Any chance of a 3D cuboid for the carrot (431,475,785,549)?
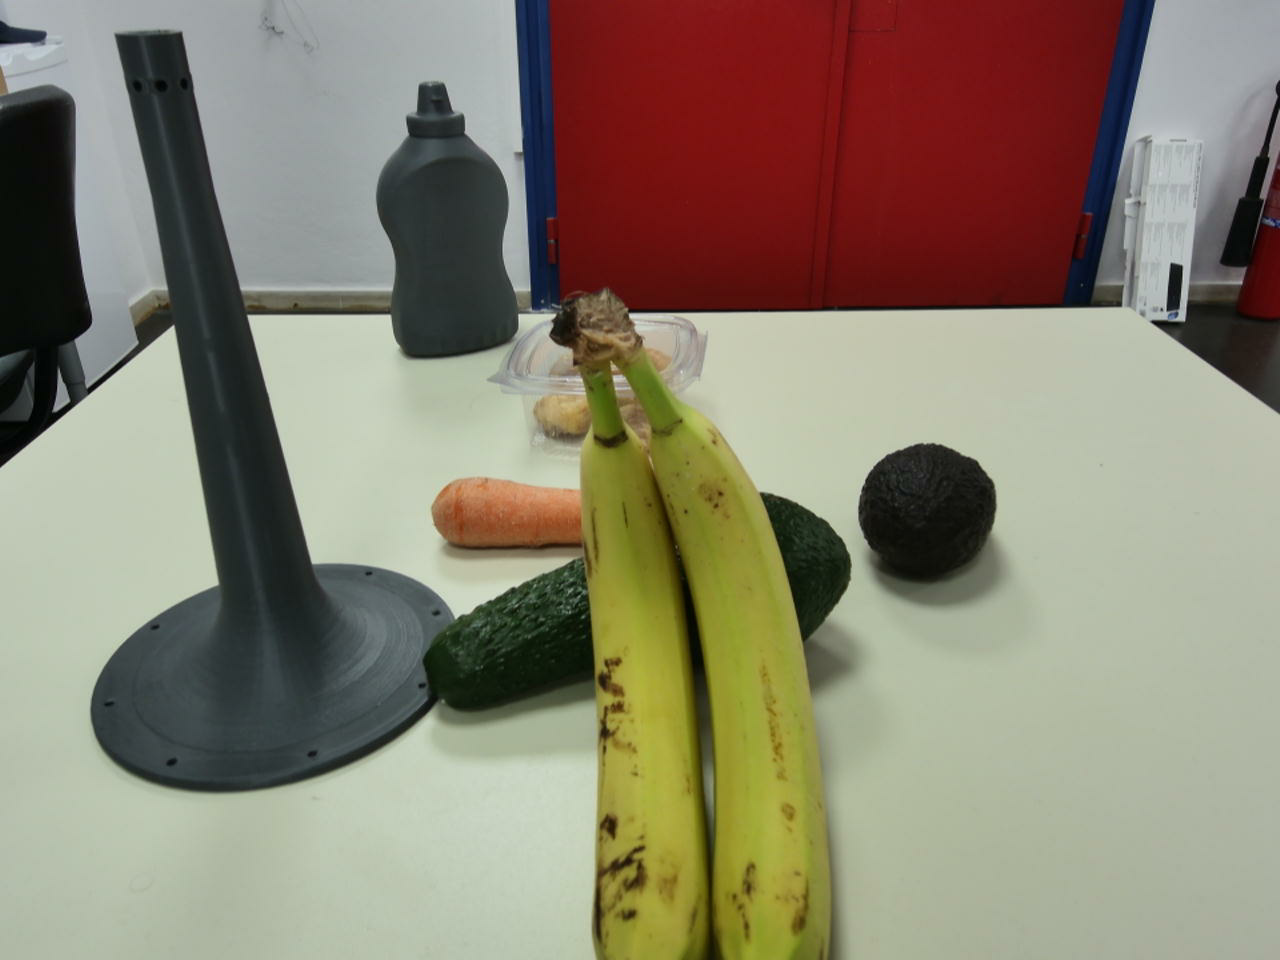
[{"bbox_3d":[-0.017,0.018,0.554,0.196,0.041,0.039,0,26,0],"label":"carrot"}]
